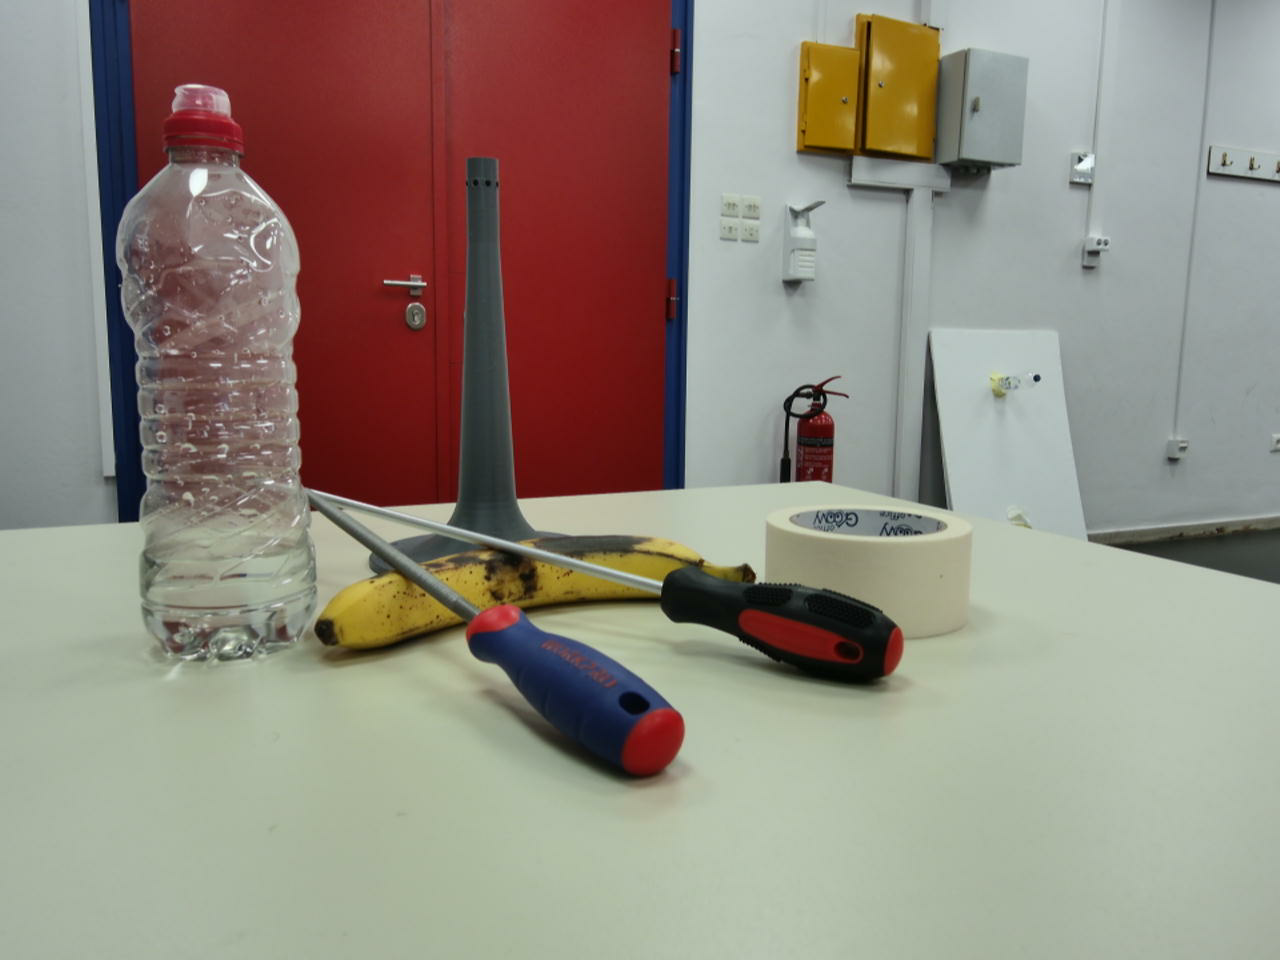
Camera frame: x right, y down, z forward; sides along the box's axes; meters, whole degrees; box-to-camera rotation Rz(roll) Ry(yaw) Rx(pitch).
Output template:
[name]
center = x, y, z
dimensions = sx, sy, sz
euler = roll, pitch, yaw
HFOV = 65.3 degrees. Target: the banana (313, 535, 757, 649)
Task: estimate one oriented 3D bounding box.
[banana]
center = -0.055, 0.053, 0.510
dimensions = 0.222, 0.037, 0.084
euler = -3, 7, -25
